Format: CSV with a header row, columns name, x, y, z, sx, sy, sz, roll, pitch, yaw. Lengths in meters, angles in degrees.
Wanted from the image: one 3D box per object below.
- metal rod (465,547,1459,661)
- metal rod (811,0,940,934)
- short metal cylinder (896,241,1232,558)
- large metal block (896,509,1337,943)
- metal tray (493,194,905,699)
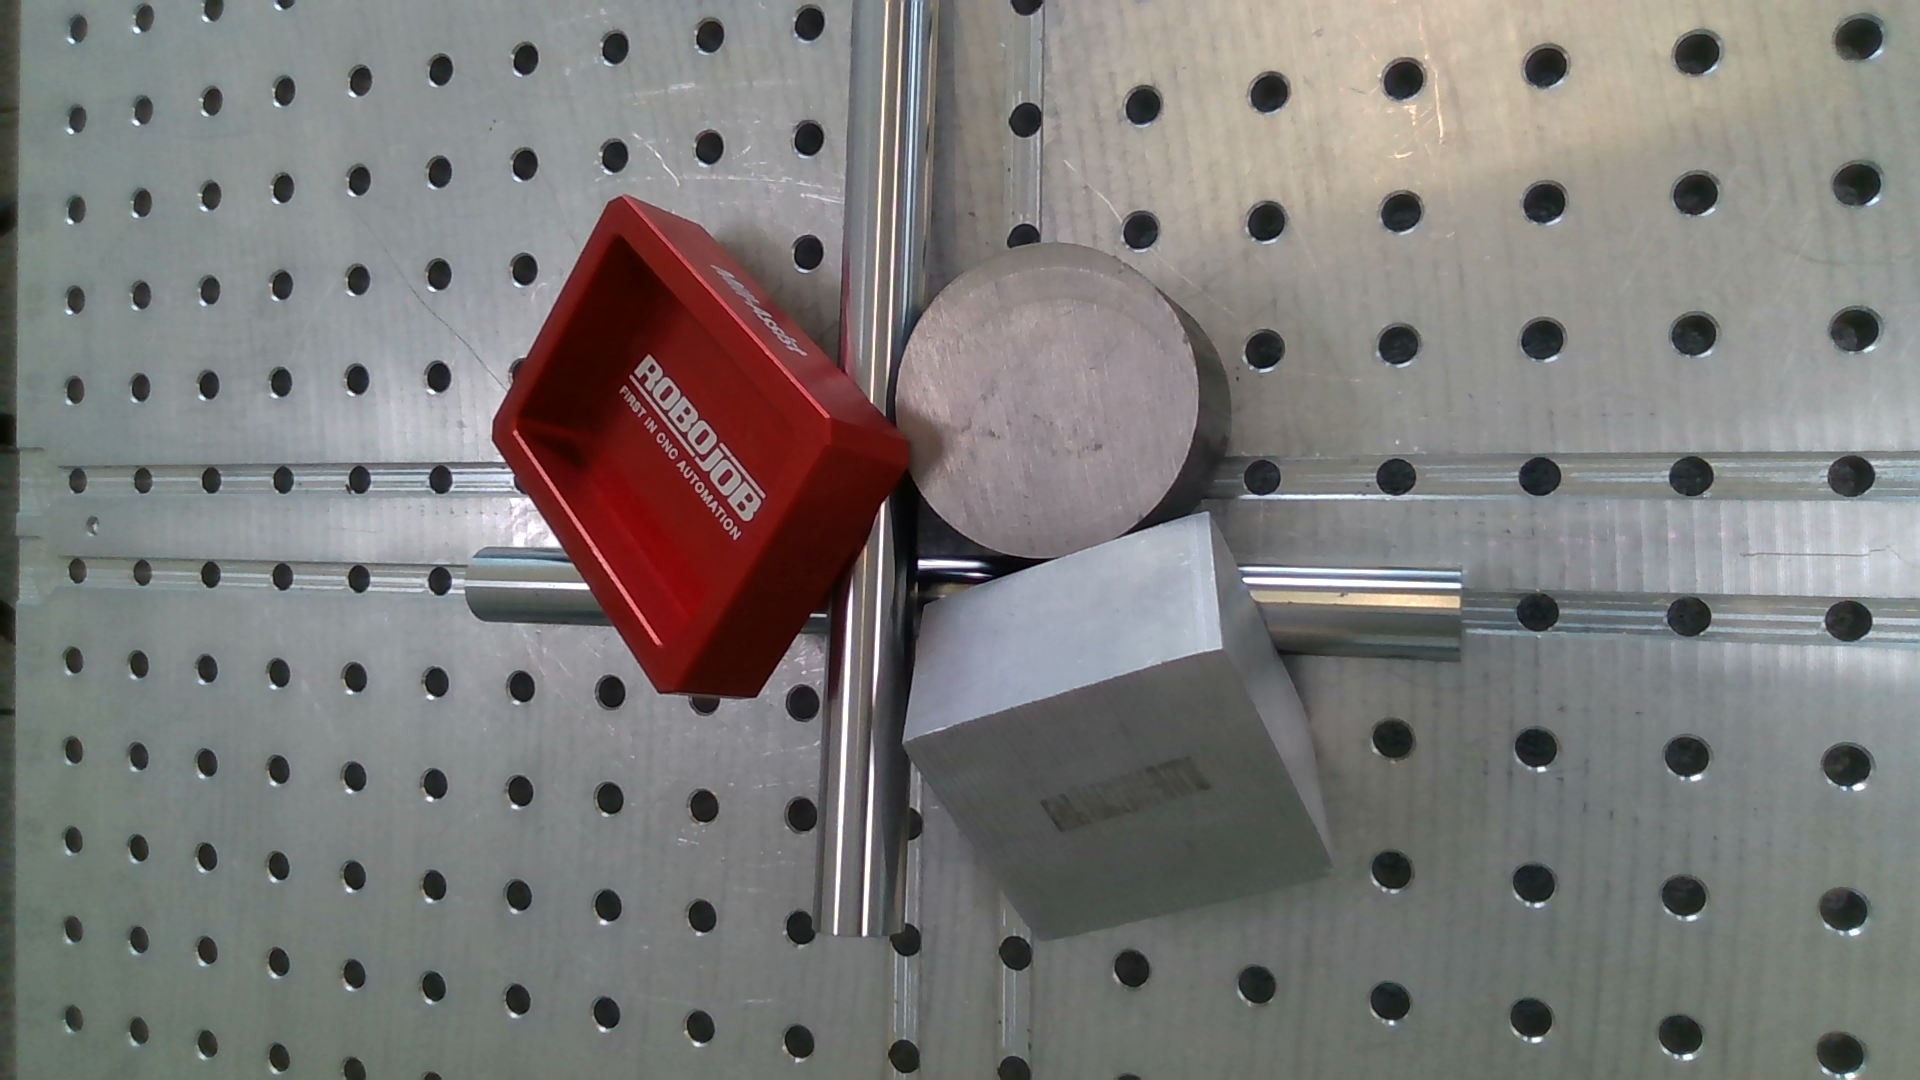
name,x,y,z,sx,sy,sz,roll,pitch,yaw
metal rod,-0.014,0.016,0.402,0.300,0.025,0.025,1,90,20
metal rod,-0.022,-0.045,0.387,0.025,0.025,0.300,0,83,20
short metal cylinder,0.029,-0.035,0.372,0.080,0.050,0.080,0,90,20
large metal block,0.041,0.049,0.348,0.080,0.050,0.080,-19,124,19
metal tray,-0.081,-0.029,0.396,0.130,0.030,0.090,47,112,35
